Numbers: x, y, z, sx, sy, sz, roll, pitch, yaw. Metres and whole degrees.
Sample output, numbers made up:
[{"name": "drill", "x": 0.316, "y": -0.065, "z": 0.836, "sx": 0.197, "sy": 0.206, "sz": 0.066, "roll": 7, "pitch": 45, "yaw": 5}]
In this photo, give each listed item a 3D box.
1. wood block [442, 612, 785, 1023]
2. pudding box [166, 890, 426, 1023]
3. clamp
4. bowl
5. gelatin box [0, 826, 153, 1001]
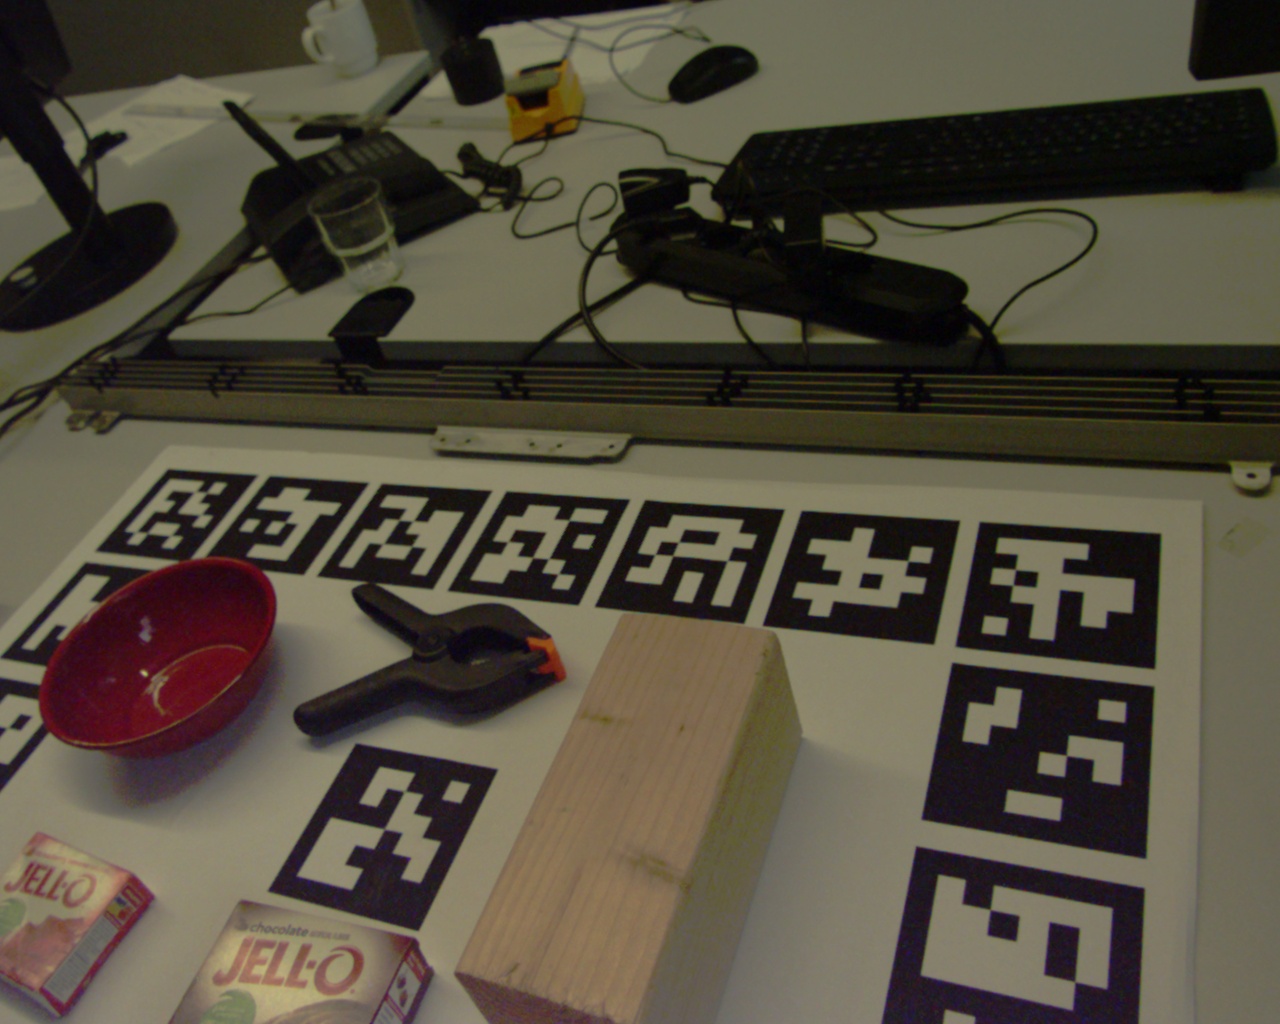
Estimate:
[{"name": "wood block", "x": -0.002, "y": 0.162, "z": 0.576, "sx": 0.091, "sy": 0.090, "sz": 0.205, "roll": 6, "pitch": 47, "yaw": 25}, {"name": "pudding box", "x": -0.179, "y": 0.252, "z": 0.586, "sx": 0.115, "sy": 0.038, "sz": 0.090, "roll": 2, "pitch": 49, "yaw": 25}, {"name": "clamp", "x": -0.151, "y": 0.097, "z": 0.755, "sx": 0.166, "sy": 0.036, "sz": 0.122, "roll": -3, "pitch": 43, "yaw": 15}, {"name": "bowl", "x": -0.315, "y": 0.109, "z": 0.788, "sx": 0.162, "sy": 0.055, "sz": 0.162, "roll": -11, "pitch": 45, "yaw": 10}, {"name": "gelatin box", "x": -0.346, "y": 0.234, "z": 0.672, "sx": 0.090, "sy": 0.030, "sz": 0.073, "roll": 10, "pitch": 51, "yaw": 29}]
